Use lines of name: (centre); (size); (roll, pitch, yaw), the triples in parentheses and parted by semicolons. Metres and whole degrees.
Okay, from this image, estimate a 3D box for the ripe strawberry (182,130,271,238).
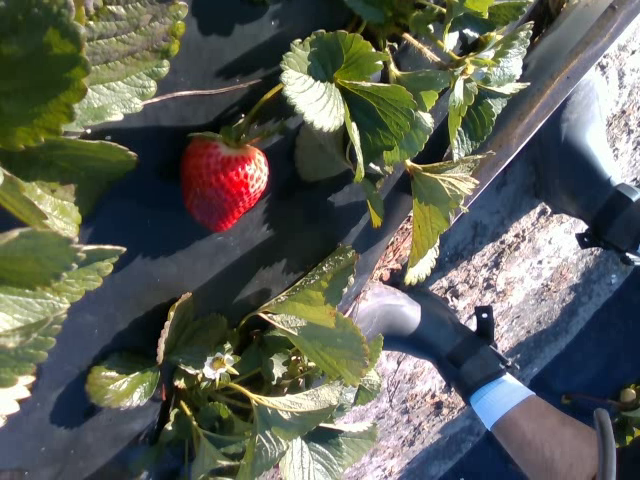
ripe strawberry: (-0.044, -0.027, 0.275); (0.044, 0.056, 0.042); (18, 19, 2)
